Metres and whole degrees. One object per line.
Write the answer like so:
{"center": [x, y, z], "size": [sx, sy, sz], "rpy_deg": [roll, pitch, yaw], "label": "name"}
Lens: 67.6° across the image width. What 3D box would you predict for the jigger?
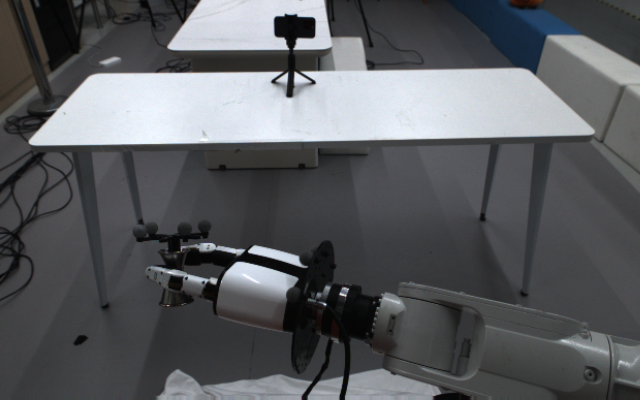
{"center": [-0.184, 0.098, 0.618], "size": [0.043, 0.071, 0.043], "rpy_deg": [-2, 4, 0], "label": "jigger"}
